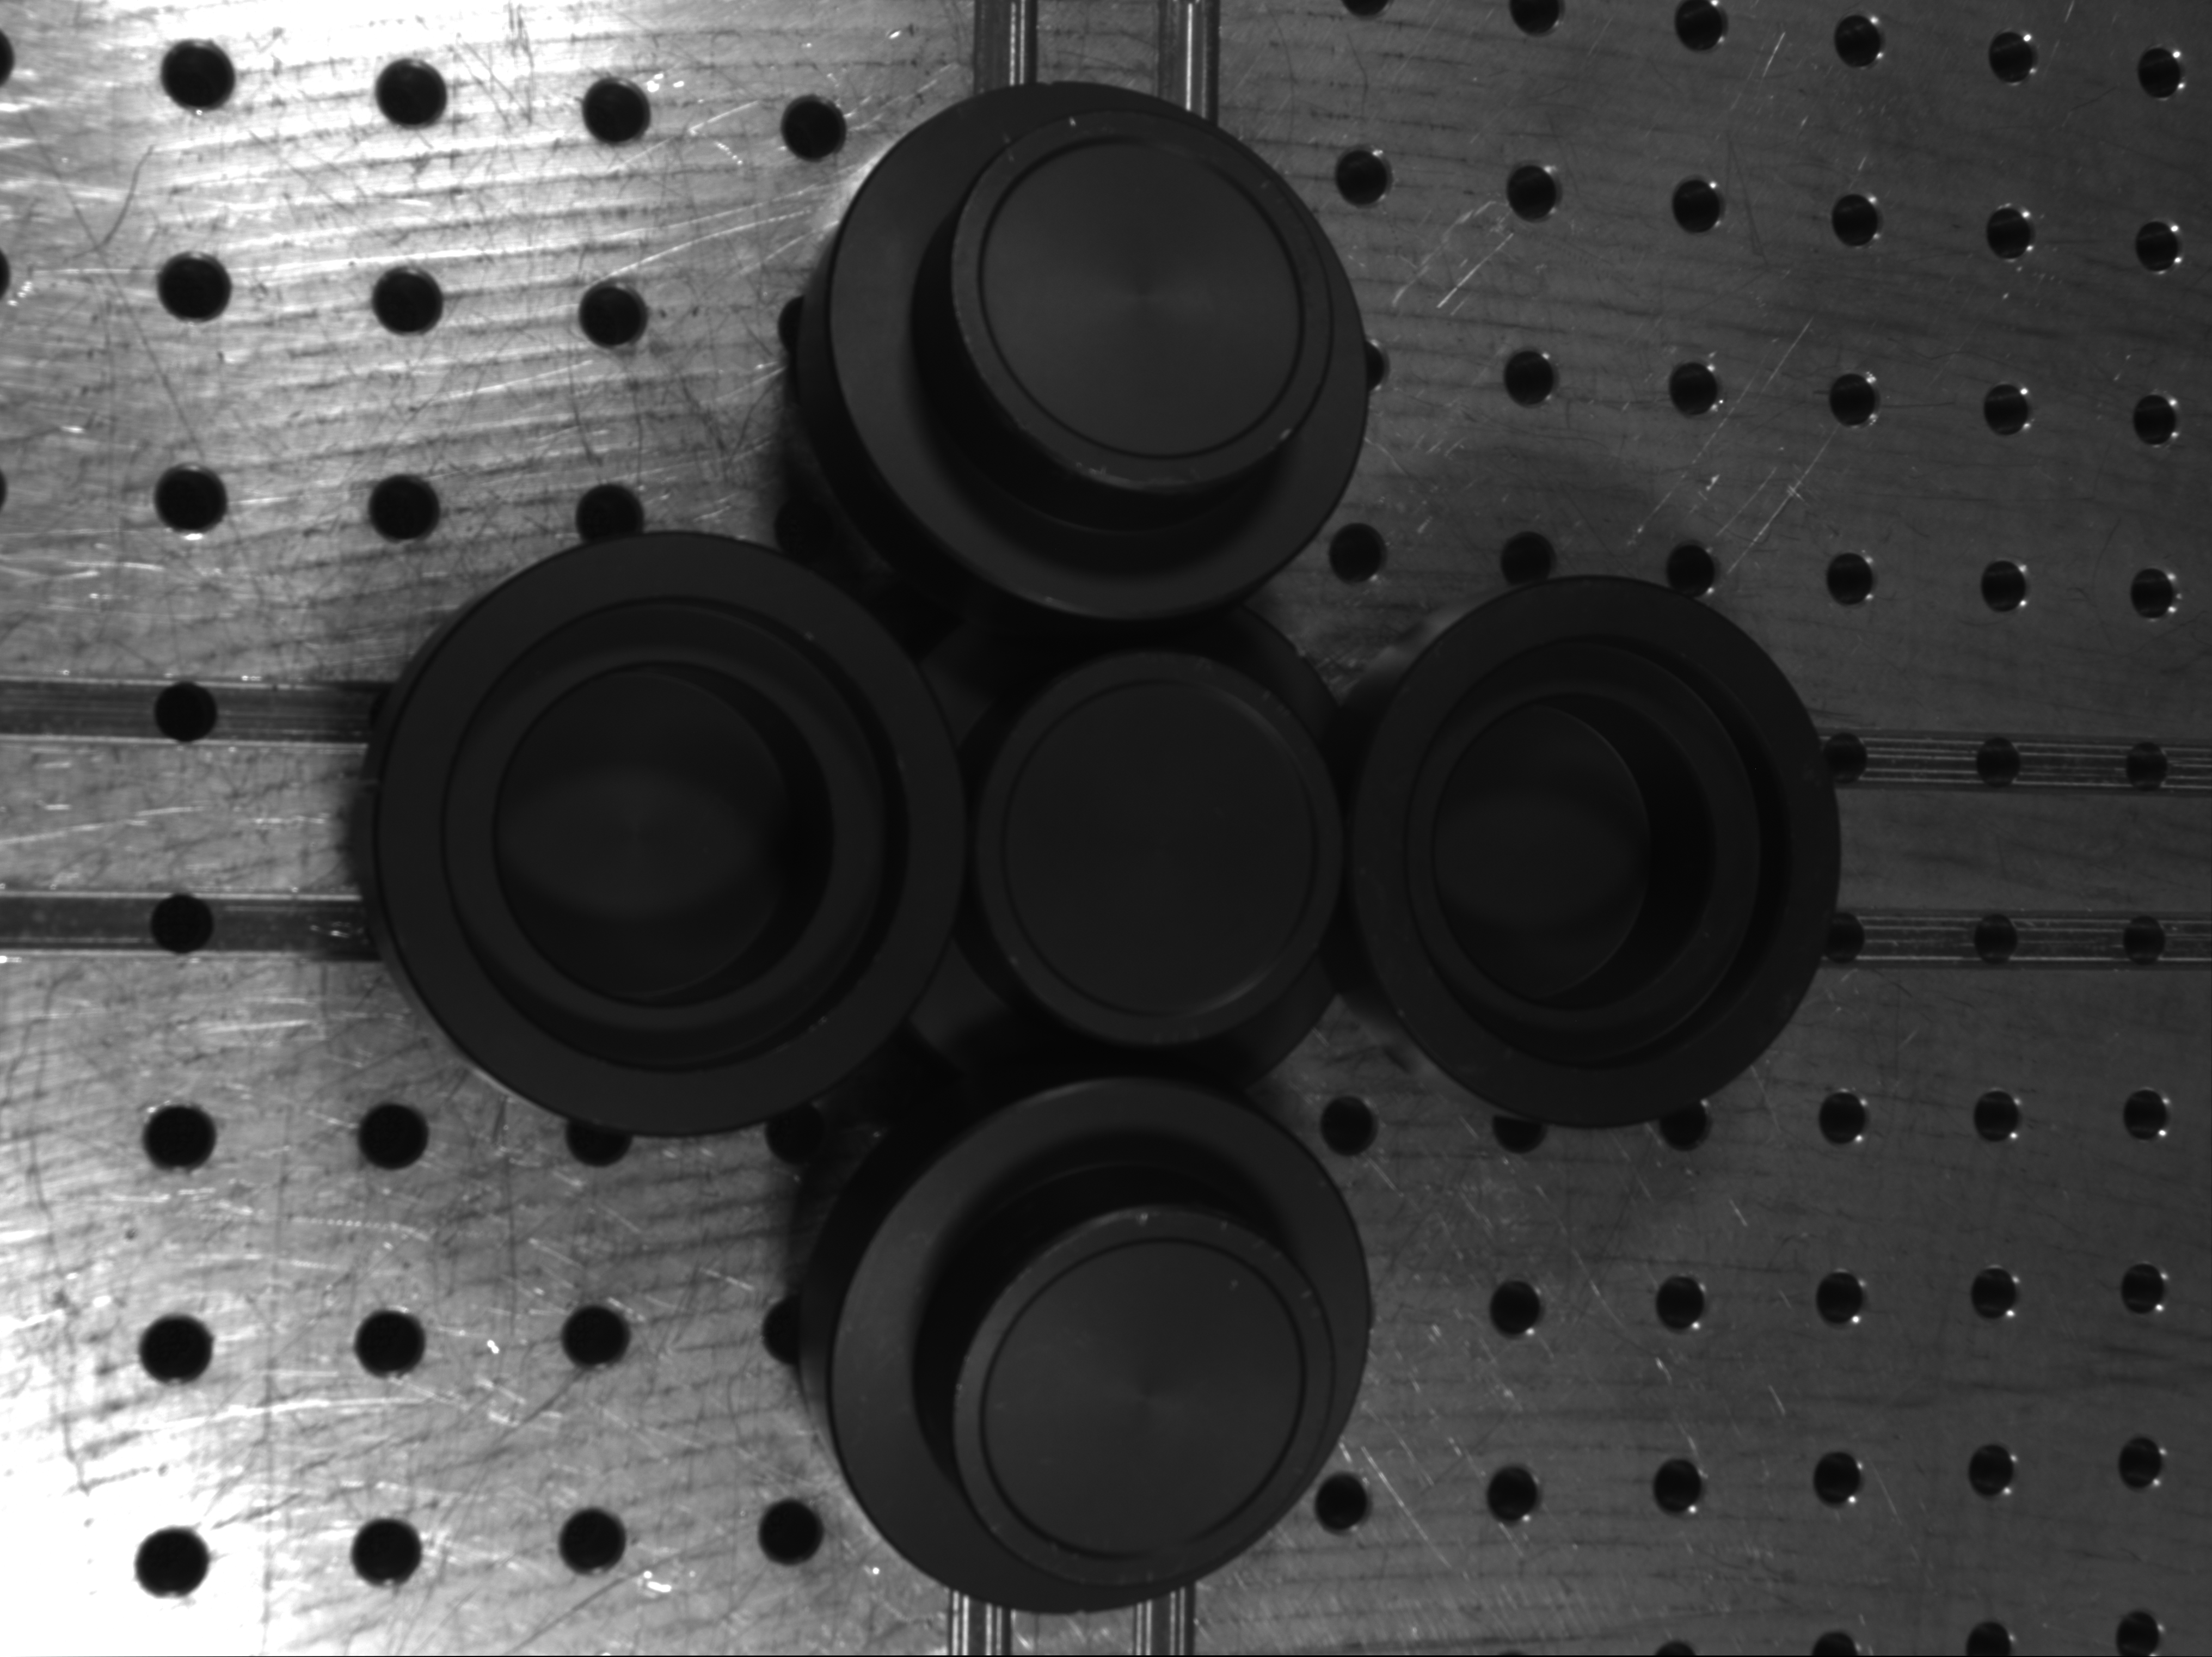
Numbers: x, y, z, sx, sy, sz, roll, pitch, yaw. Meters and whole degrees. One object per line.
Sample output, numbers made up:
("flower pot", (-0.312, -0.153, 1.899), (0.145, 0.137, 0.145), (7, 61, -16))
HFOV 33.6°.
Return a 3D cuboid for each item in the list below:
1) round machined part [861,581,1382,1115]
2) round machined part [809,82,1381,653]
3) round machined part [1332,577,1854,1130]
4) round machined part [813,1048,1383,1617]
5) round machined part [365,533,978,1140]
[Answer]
("round machined part", (0.004, 0.004, 0.637), (0.098, 0.042, 0.098), (0, 90, -20))
("round machined part", (0.002, -0.083, 0.625), (0.098, 0.042, 0.098), (5, 74, -17))
("round machined part", (0.083, 0.004, 0.666), (0.098, 0.042, 0.098), (0, 90, -20))
("round machined part", (0.002, 0.090, 0.625), (0.098, 0.042, 0.098), (-5, 106, -18))
("round machined part", (-0.074, 0.001, 0.609), (0.098, 0.042, 0.098), (0, 90, -20))
